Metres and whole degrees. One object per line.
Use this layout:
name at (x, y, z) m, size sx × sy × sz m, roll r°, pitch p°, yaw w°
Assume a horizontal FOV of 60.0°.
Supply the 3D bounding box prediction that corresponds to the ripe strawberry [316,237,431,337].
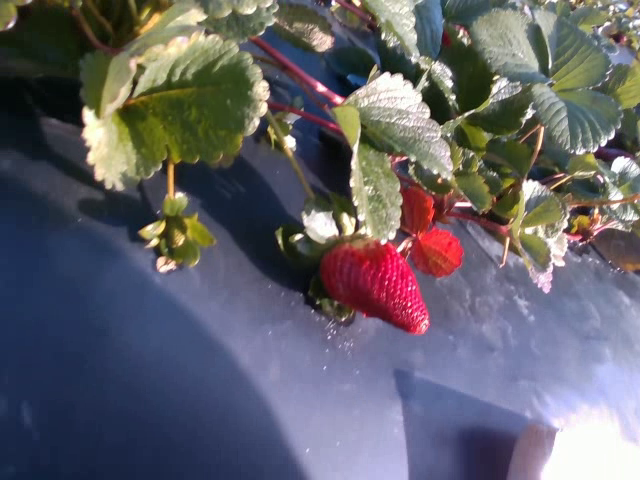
ripe strawberry at (0.025, 0.021, 0.225) m, size 0.040 × 0.056 × 0.041 m, roll -31°, pitch -30°, yaw -24°
